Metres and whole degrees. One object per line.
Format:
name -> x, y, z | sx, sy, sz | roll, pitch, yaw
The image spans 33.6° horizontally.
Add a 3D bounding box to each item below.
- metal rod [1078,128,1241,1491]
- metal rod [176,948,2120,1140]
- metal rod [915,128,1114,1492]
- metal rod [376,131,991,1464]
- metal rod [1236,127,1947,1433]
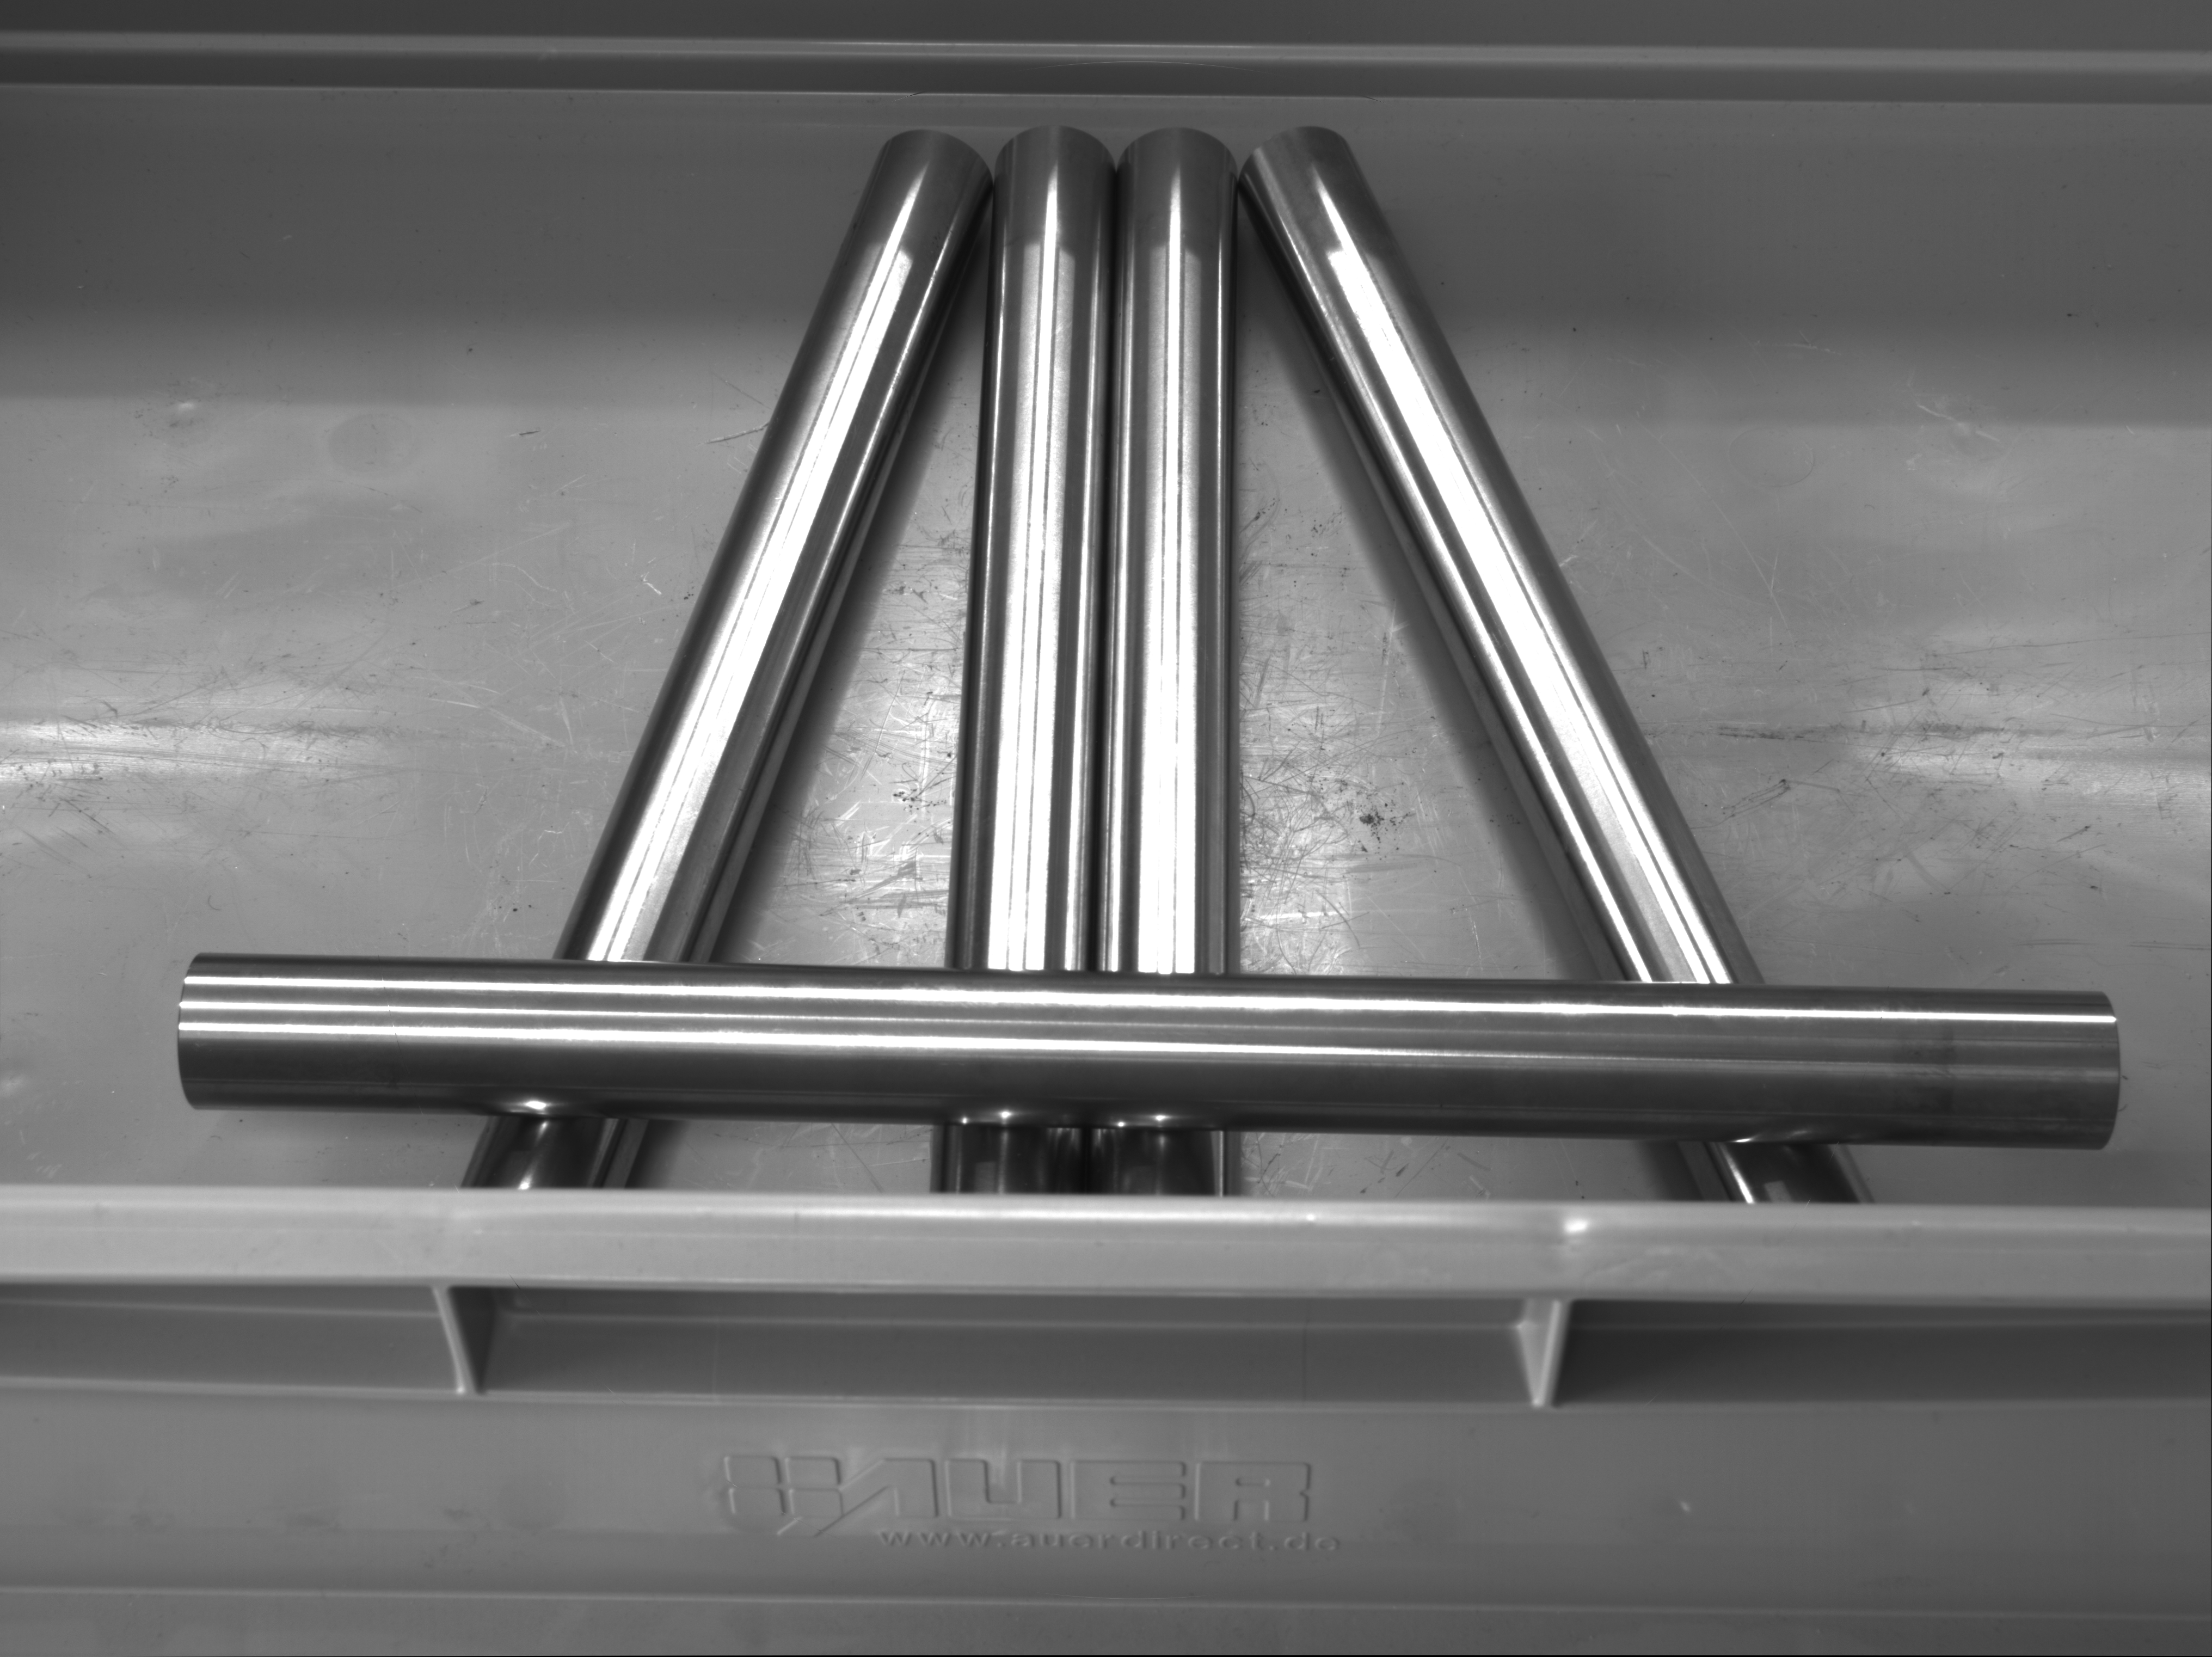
metal rod -> 0.011, -0.020, 0.657 | 0.025, 0.025, 0.300 | 1, 50, 1
metal rod -> 0.006, 0.034, 0.578 | 0.300, 0.025, 0.025 | 1, 50, 1
metal rod -> -0.013, -0.019, 0.657 | 0.025, 0.025, 0.300 | 1, 50, 1
metal rod -> -0.068, -0.021, 0.659 | 0.025, 0.025, 0.300 | 9, 50, 8
metal rod -> 0.079, -0.024, 0.661 | 0.025, 0.025, 0.300 | -12, 51, -10
